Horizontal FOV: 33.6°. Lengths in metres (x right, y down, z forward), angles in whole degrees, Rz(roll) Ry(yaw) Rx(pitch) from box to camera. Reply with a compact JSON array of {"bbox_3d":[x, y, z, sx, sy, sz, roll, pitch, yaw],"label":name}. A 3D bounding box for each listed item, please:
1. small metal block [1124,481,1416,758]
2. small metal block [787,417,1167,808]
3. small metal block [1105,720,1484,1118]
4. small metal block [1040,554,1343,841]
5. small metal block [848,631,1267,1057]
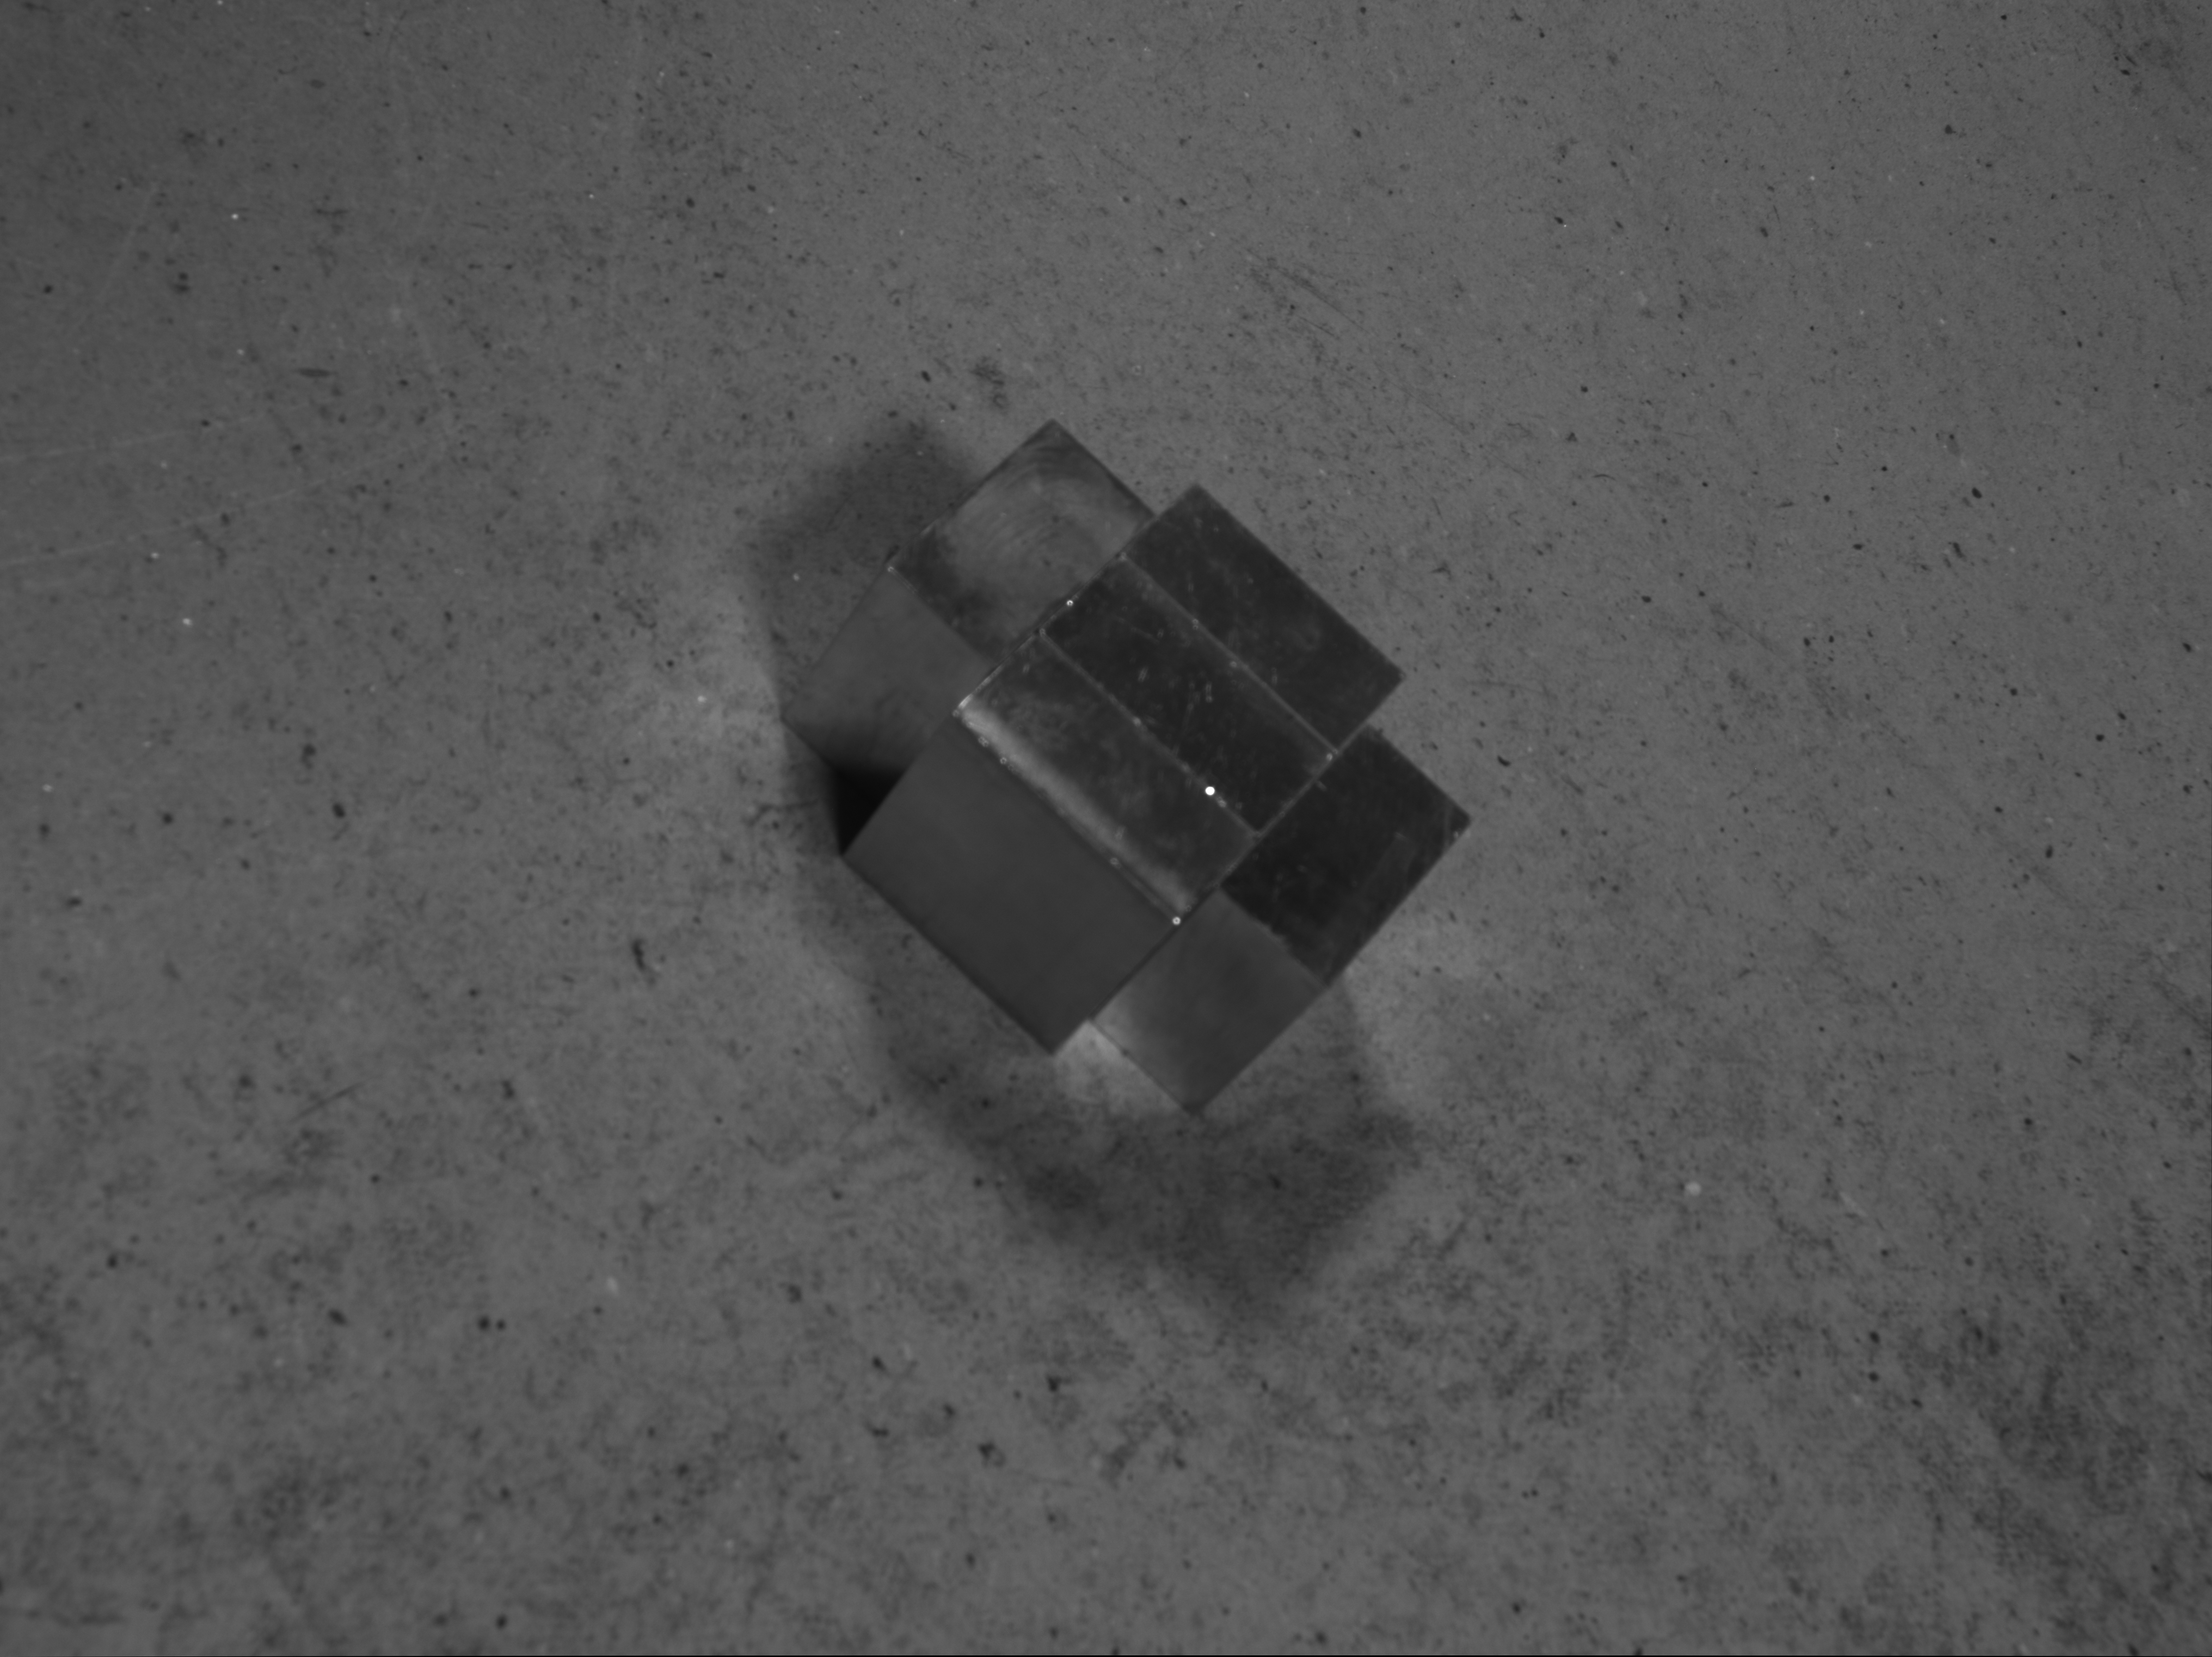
[{"bbox_3d":[0.018,-0.025,0.648,0.050,0.050,0.025,42,51,1],"label":"small metal block"},{"bbox_3d":[-0.023,-0.037,0.633,0.025,0.050,0.050,43,51,2],"label":"small metal block"},{"bbox_3d":[0.032,0.016,0.631,0.025,0.050,0.050,43,51,2],"label":"small metal block"},{"bbox_3d":[0.005,-0.011,0.632,0.050,0.050,0.025,43,51,1],"label":"small metal block"},{"bbox_3d":[-0.009,0.003,0.616,0.050,0.050,0.025,43,51,1],"label":"small metal block"}]
